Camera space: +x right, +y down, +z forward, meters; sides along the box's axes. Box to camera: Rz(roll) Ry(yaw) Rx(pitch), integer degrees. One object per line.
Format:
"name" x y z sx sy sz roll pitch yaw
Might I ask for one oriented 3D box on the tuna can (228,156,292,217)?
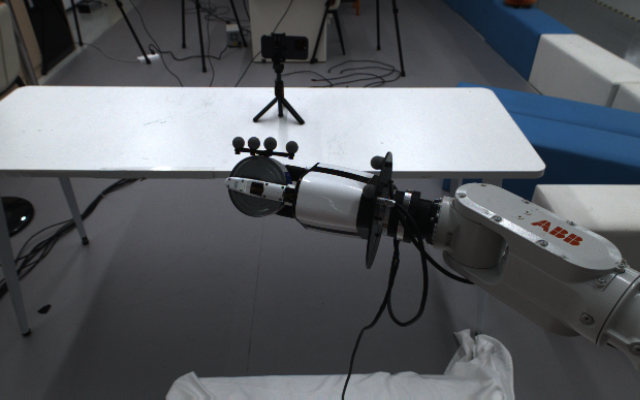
"tuna can" -0.083 -0.020 0.682 0.085 0.085 0.034 11 3 13
